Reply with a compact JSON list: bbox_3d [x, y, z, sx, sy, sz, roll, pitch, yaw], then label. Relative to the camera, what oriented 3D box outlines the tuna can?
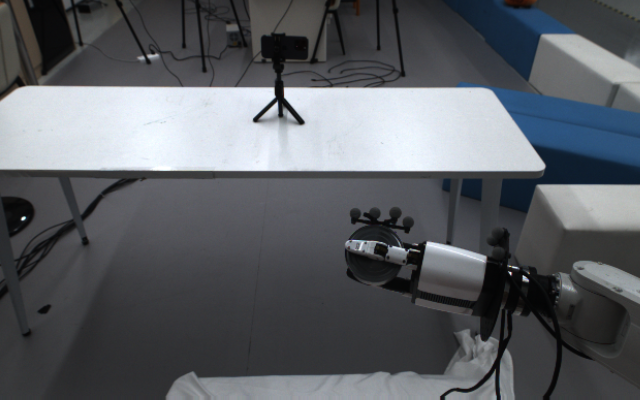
[{"bbox_3d":[0.081,0.077,0.706,0.085,0.034,0.085,-3,68,7],"label":"tuna can"}]
